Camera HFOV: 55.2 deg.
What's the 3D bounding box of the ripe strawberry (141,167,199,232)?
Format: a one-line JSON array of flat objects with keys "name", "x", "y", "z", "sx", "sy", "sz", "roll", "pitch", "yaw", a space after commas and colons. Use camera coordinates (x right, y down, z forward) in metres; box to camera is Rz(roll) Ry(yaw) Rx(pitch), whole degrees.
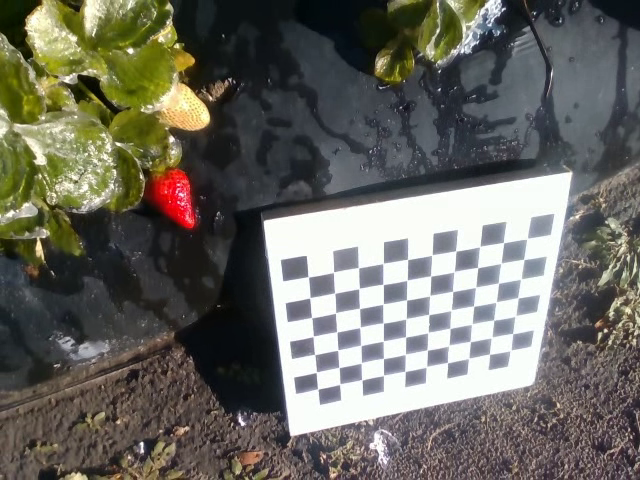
[{"name": "ripe strawberry", "x": -0.115, "y": -0.026, "z": 0.485, "sx": 0.041, "sy": 0.052, "sz": 0.040, "roll": -25, "pitch": 26, "yaw": -1}]
